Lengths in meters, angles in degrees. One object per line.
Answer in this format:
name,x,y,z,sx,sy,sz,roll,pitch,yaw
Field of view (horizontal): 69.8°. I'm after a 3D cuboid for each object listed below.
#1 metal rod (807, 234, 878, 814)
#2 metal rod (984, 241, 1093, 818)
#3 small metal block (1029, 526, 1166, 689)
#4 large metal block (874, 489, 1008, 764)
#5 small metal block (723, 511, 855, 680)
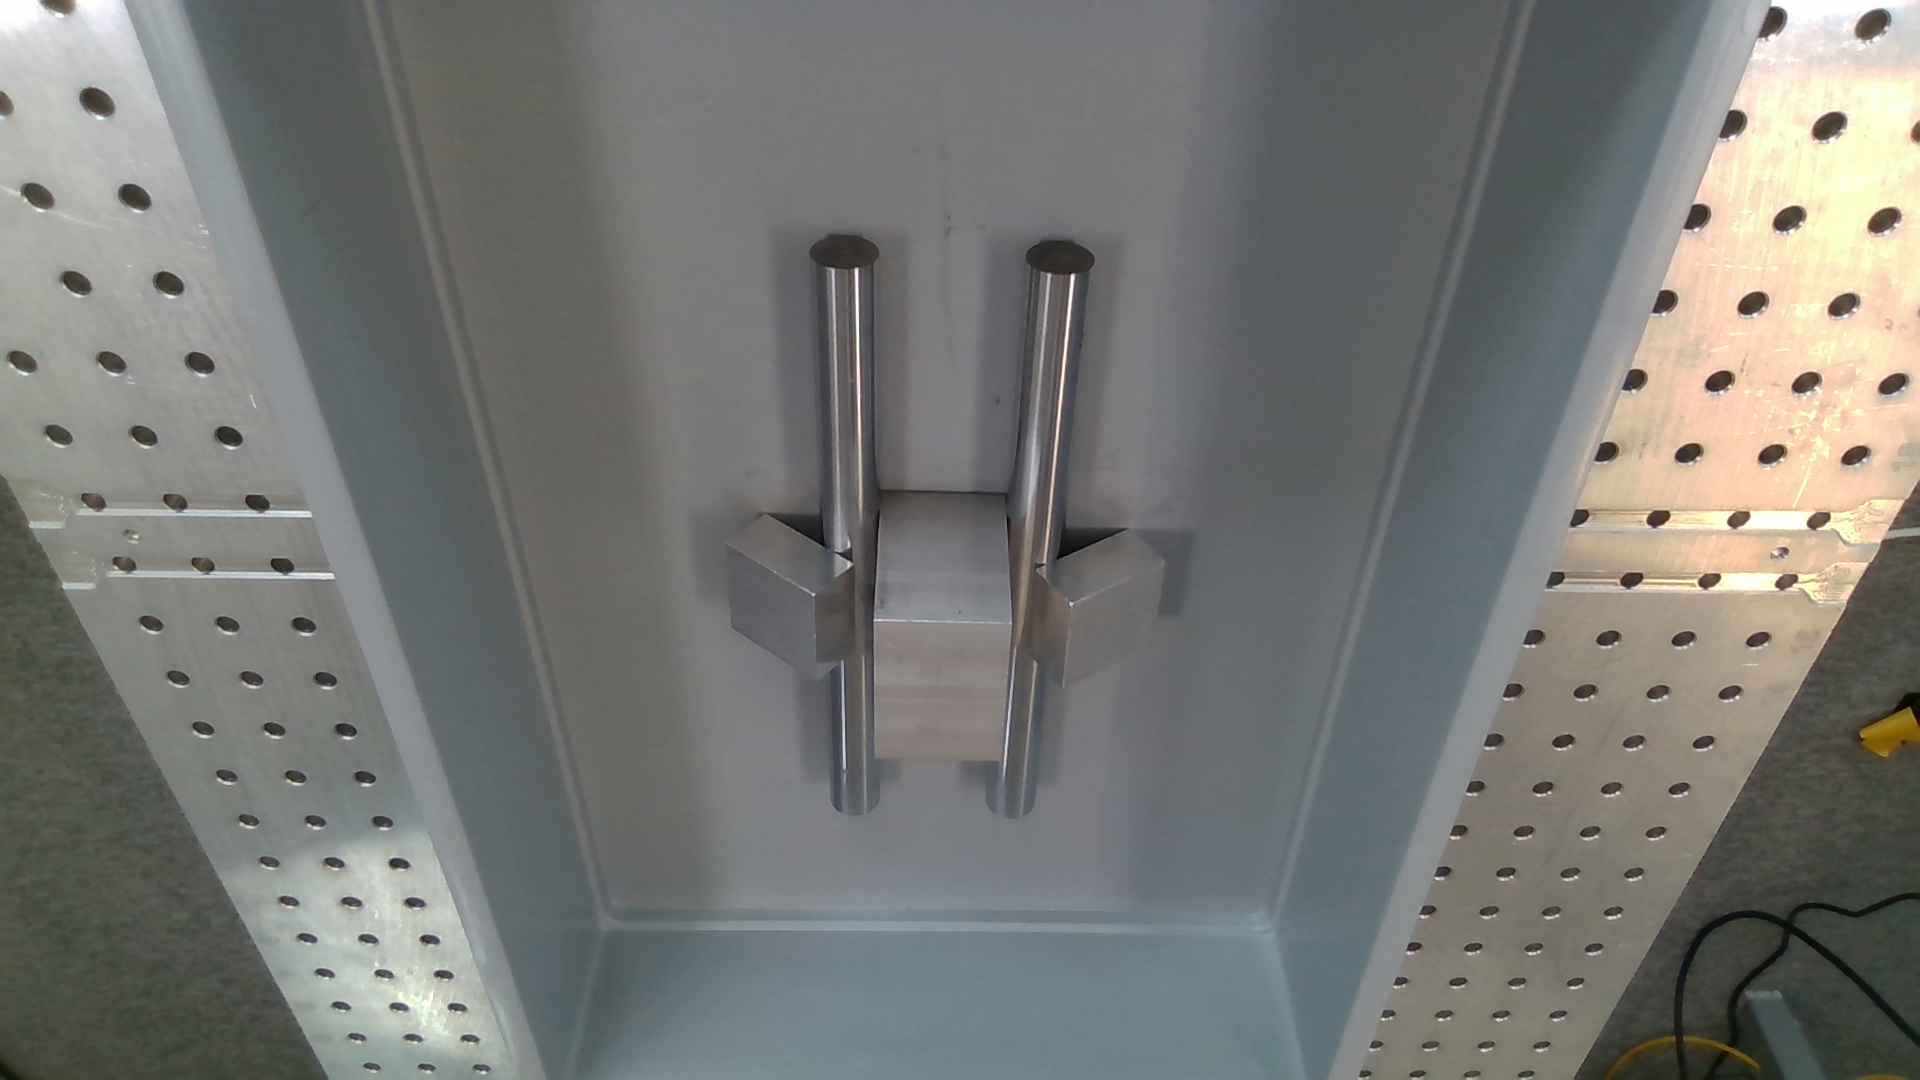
metal rod,-0.047,0.012,0.588,0.025,0.025,0.301,2,130,-1
metal rod,0.030,0.014,0.589,0.025,0.025,0.301,2,130,-1
small metal block,0.058,0.029,0.588,0.050,0.025,0.050,-23,136,-26
large metal block,-0.008,0.035,0.571,0.050,0.080,0.080,1,130,-1
small metal block,-0.072,0.023,0.582,0.050,0.025,0.050,28,136,26
